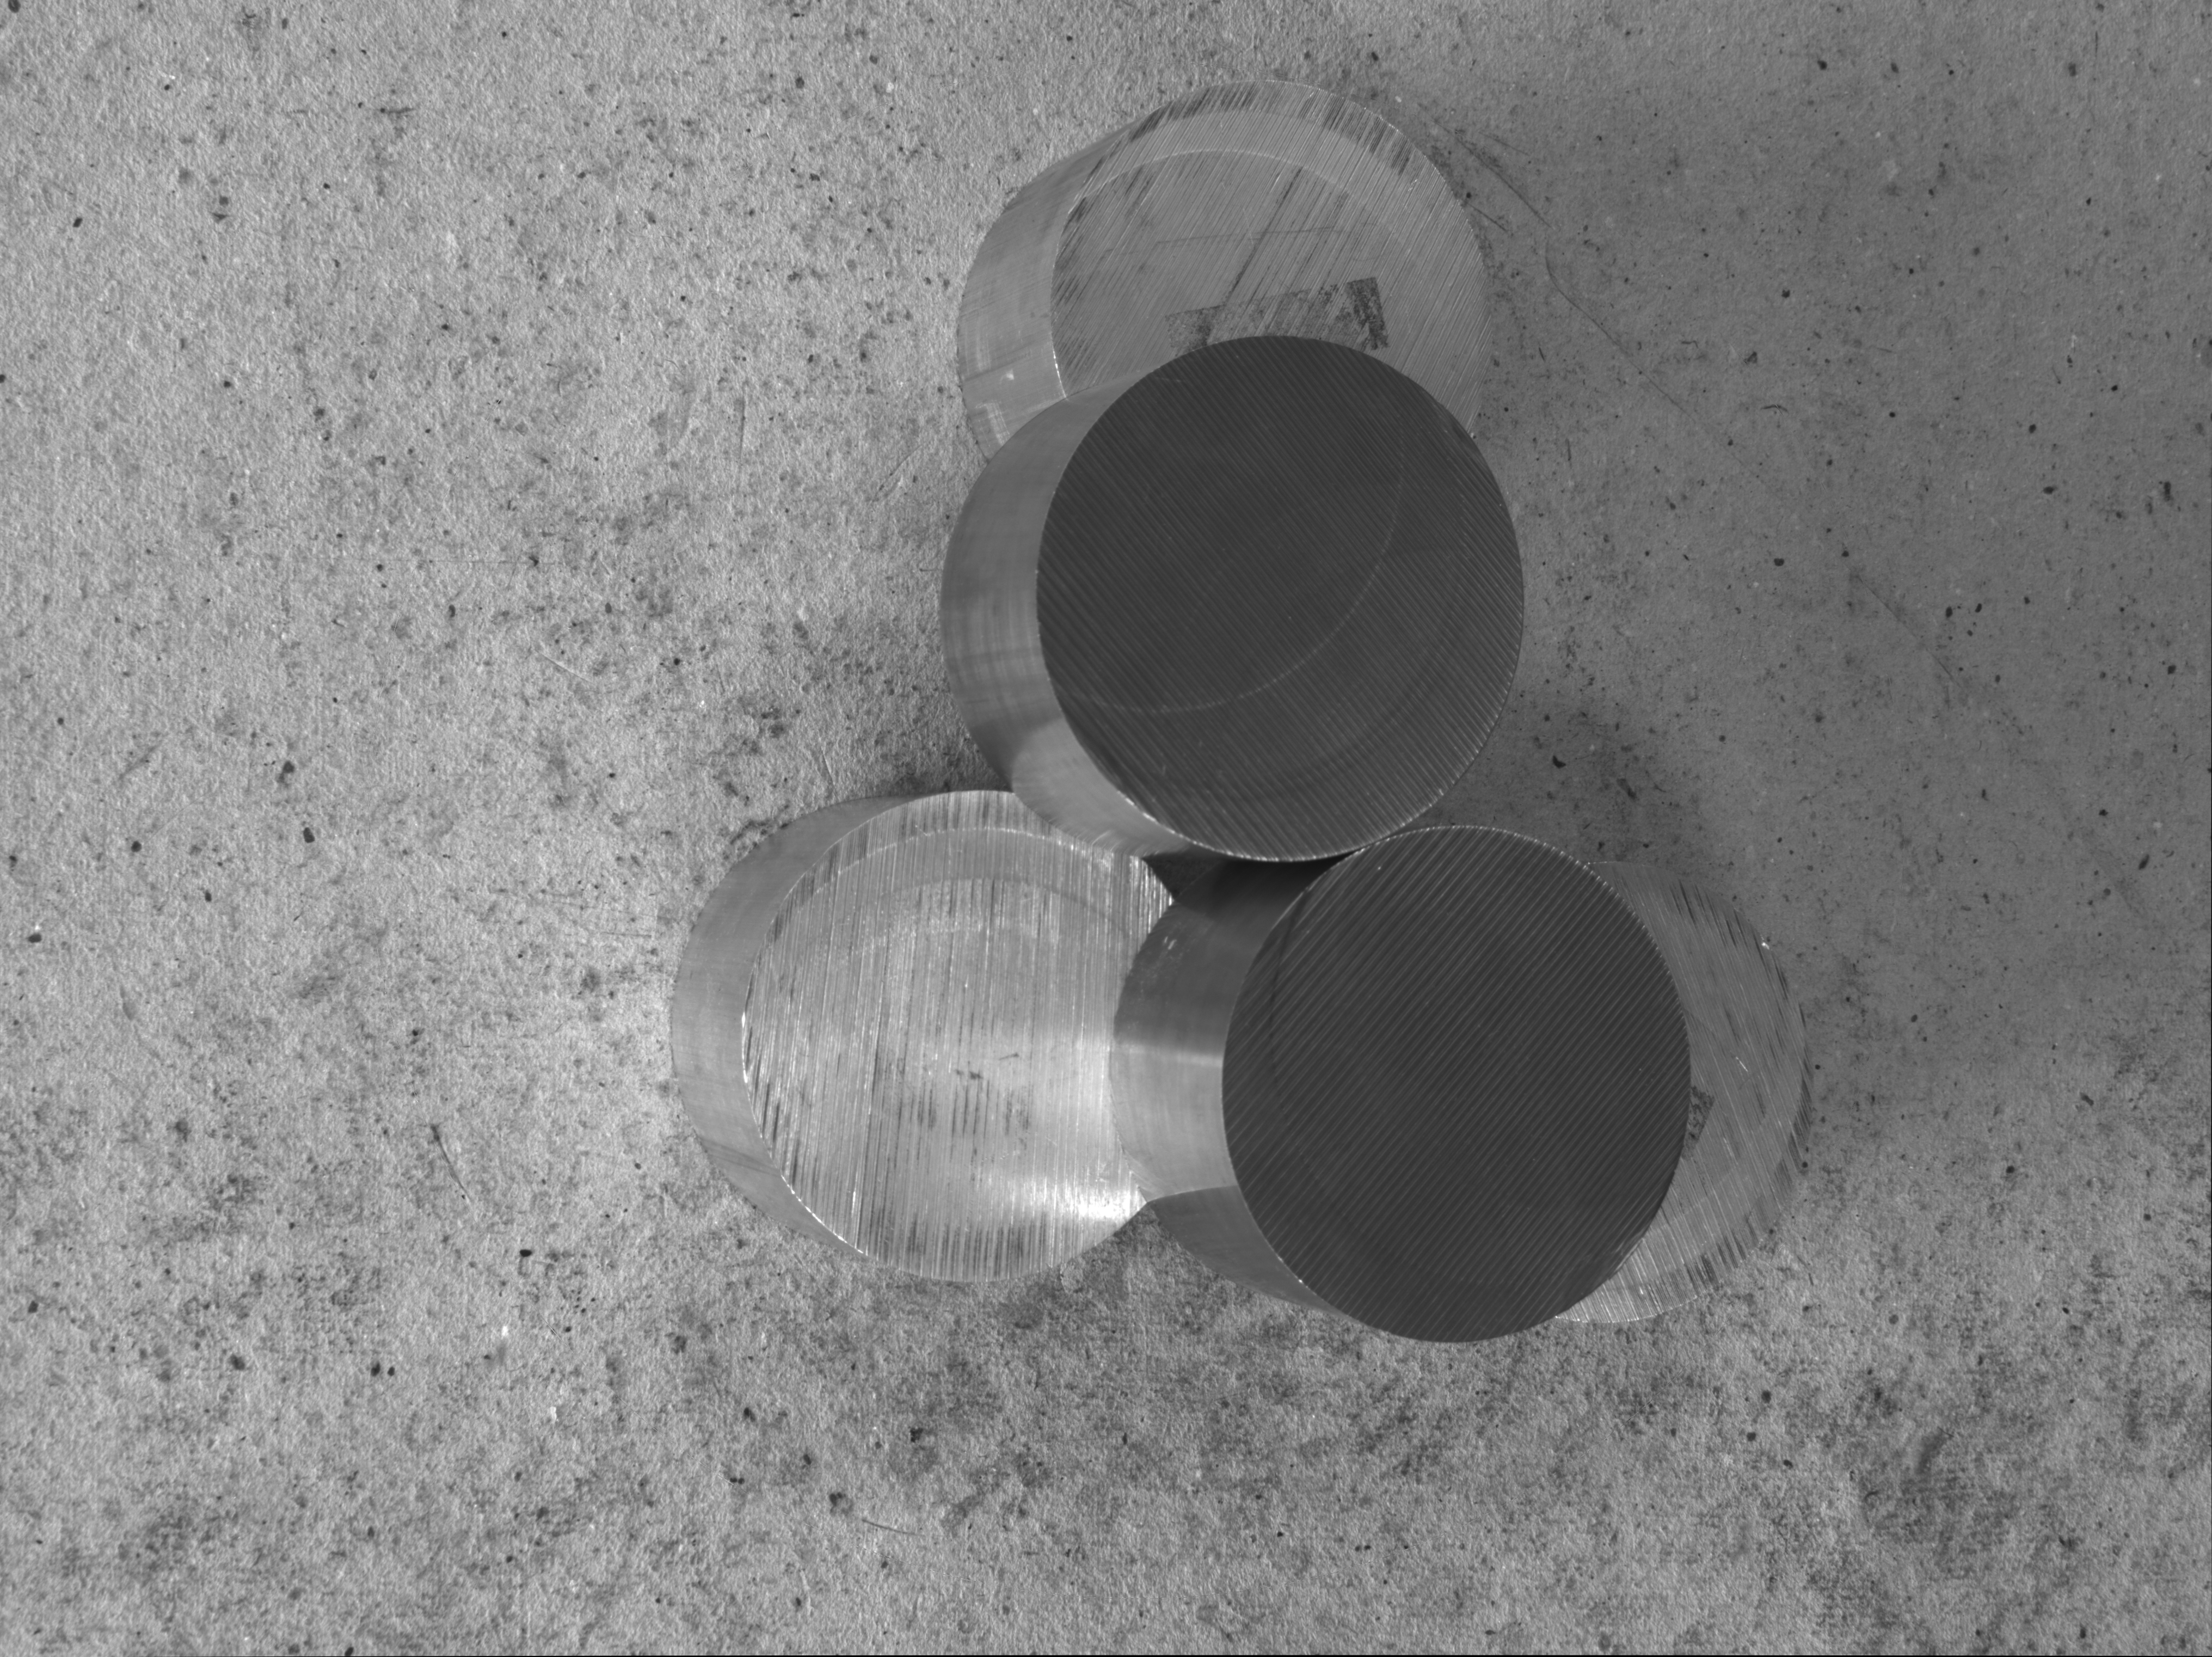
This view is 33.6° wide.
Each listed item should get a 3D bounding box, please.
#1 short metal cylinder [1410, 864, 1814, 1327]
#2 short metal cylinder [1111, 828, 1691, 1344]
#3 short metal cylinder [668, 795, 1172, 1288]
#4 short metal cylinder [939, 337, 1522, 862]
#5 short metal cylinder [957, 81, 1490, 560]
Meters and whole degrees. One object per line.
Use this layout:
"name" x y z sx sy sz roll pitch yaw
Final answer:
"short metal cylinder" 0.079 0.046 0.658 0.080 0.050 0.080 0 90 -20
"short metal cylinder" 0.047 0.040 0.593 0.080 0.050 0.080 0 90 -20
"short metal cylinder" -0.029 0.035 0.619 0.080 0.050 0.080 0 90 -20
"short metal cylinder" 0.019 -0.035 0.583 0.080 0.050 0.080 0 90 -19
"short metal cylinder" 0.020 -0.085 0.637 0.080 0.050 0.080 0 90 -20
